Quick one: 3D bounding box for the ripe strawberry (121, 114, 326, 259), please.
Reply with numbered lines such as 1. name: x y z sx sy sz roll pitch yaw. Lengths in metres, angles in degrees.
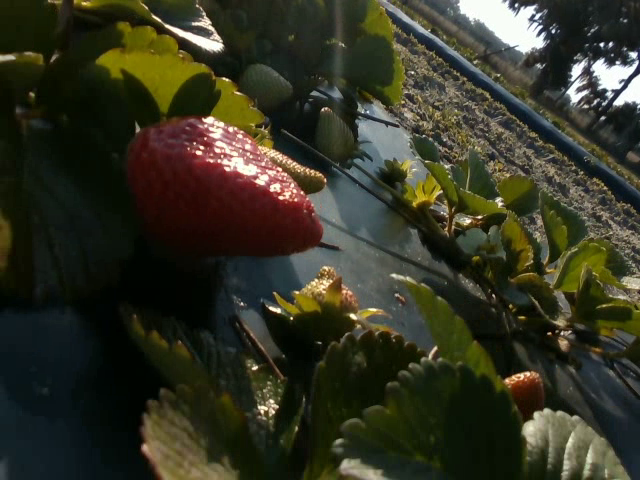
1. ripe strawberry: -0.026 -0.014 0.172 0.072 0.057 0.055 26 -28 28
